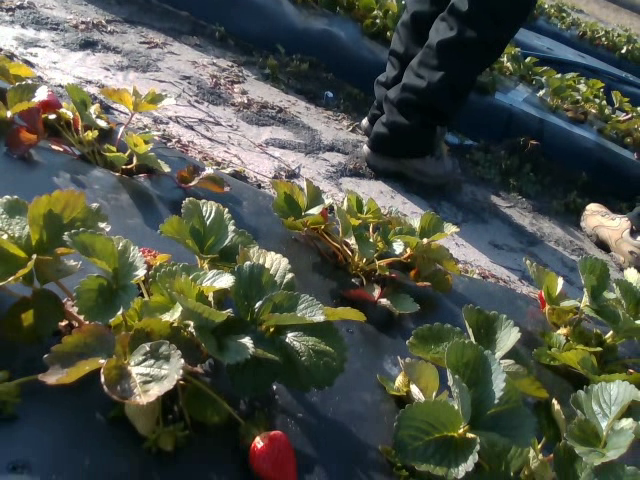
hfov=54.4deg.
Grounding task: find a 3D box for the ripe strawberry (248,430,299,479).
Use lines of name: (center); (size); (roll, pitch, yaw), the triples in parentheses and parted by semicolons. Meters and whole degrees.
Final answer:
ripe strawberry: (-0.024, 0.137, 0.373); (0.030, 0.033, 0.045); (-33, 49, -11)
